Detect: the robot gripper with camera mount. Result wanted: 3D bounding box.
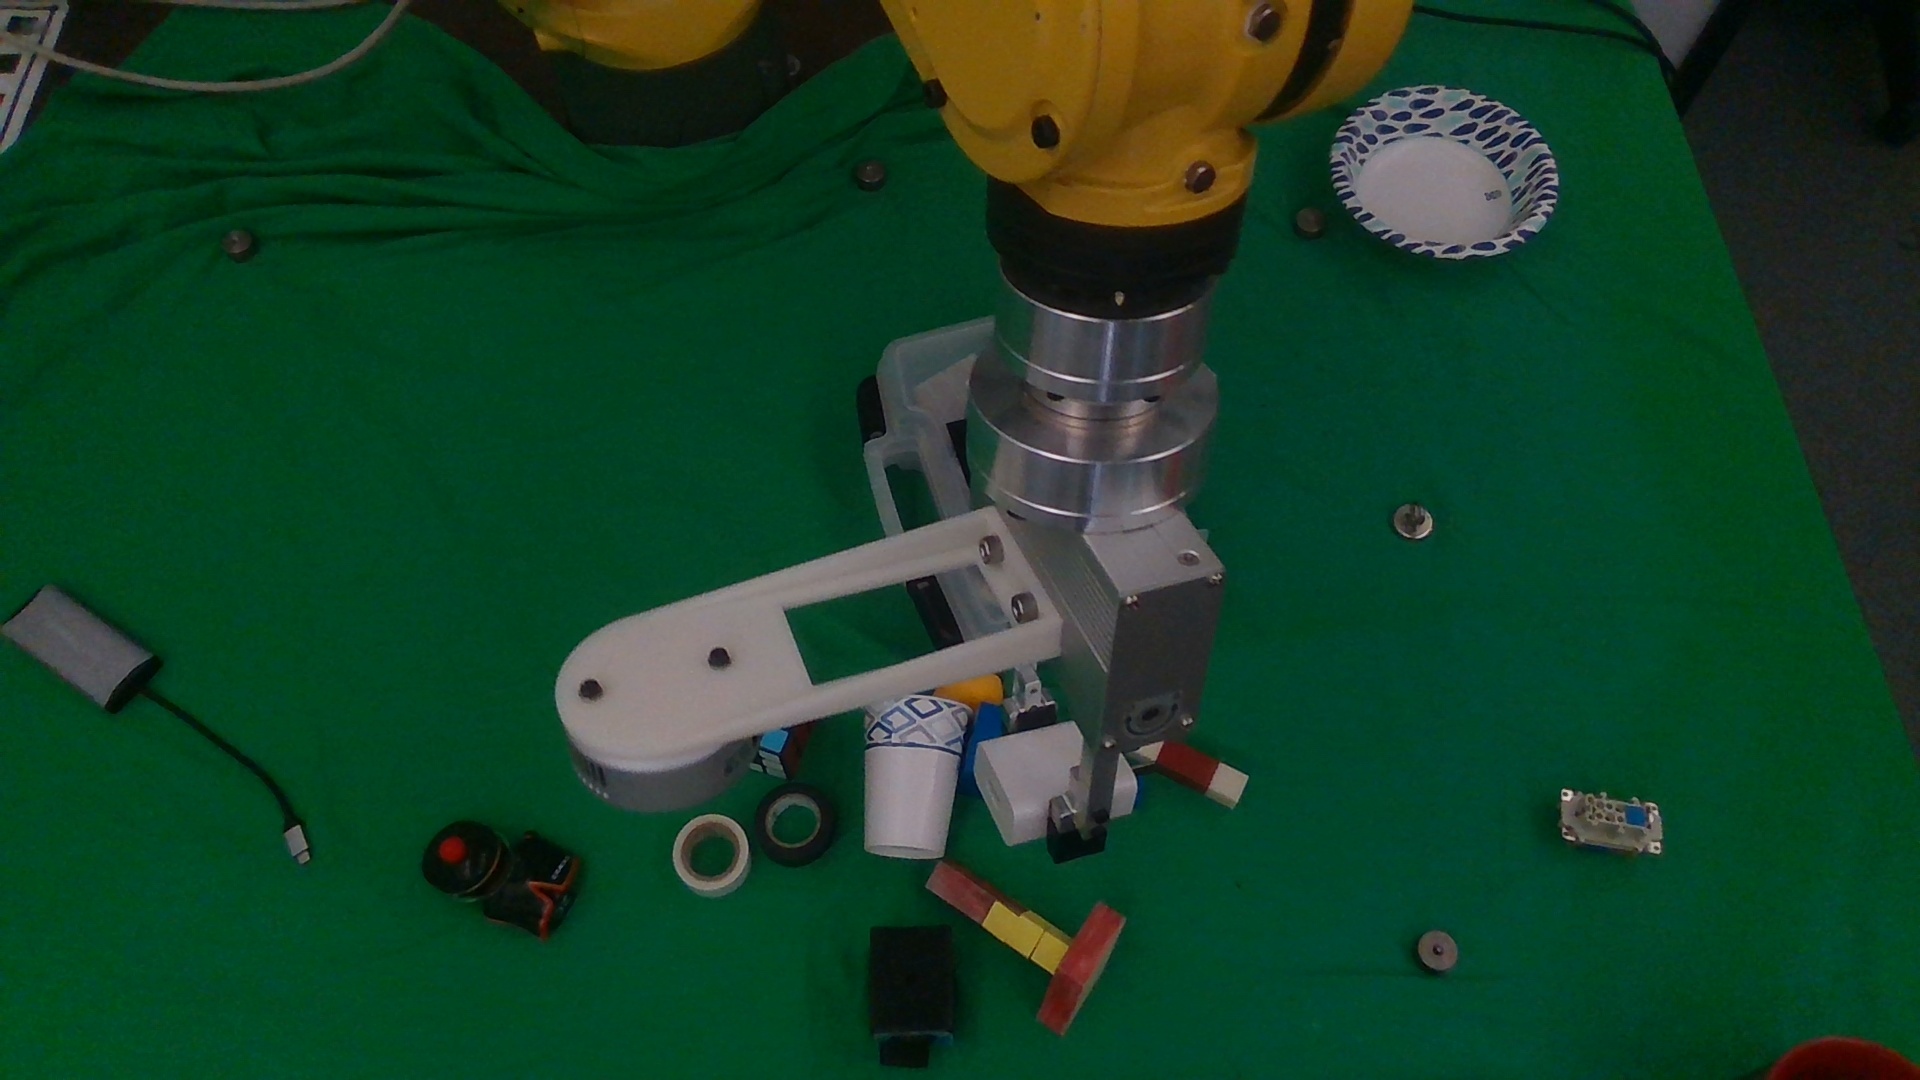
[{"bbox_3d":[-0.033,0.055,0.475,0.193,0.158,0.119,-10,41,-18],"label":"robot gripper with camera mount"}]

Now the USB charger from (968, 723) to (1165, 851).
[{"bbox_3d":[0.042,0.094,0.549,0.075,0.029,0.045,-9,49,-10],"label":"USB charger"}]
